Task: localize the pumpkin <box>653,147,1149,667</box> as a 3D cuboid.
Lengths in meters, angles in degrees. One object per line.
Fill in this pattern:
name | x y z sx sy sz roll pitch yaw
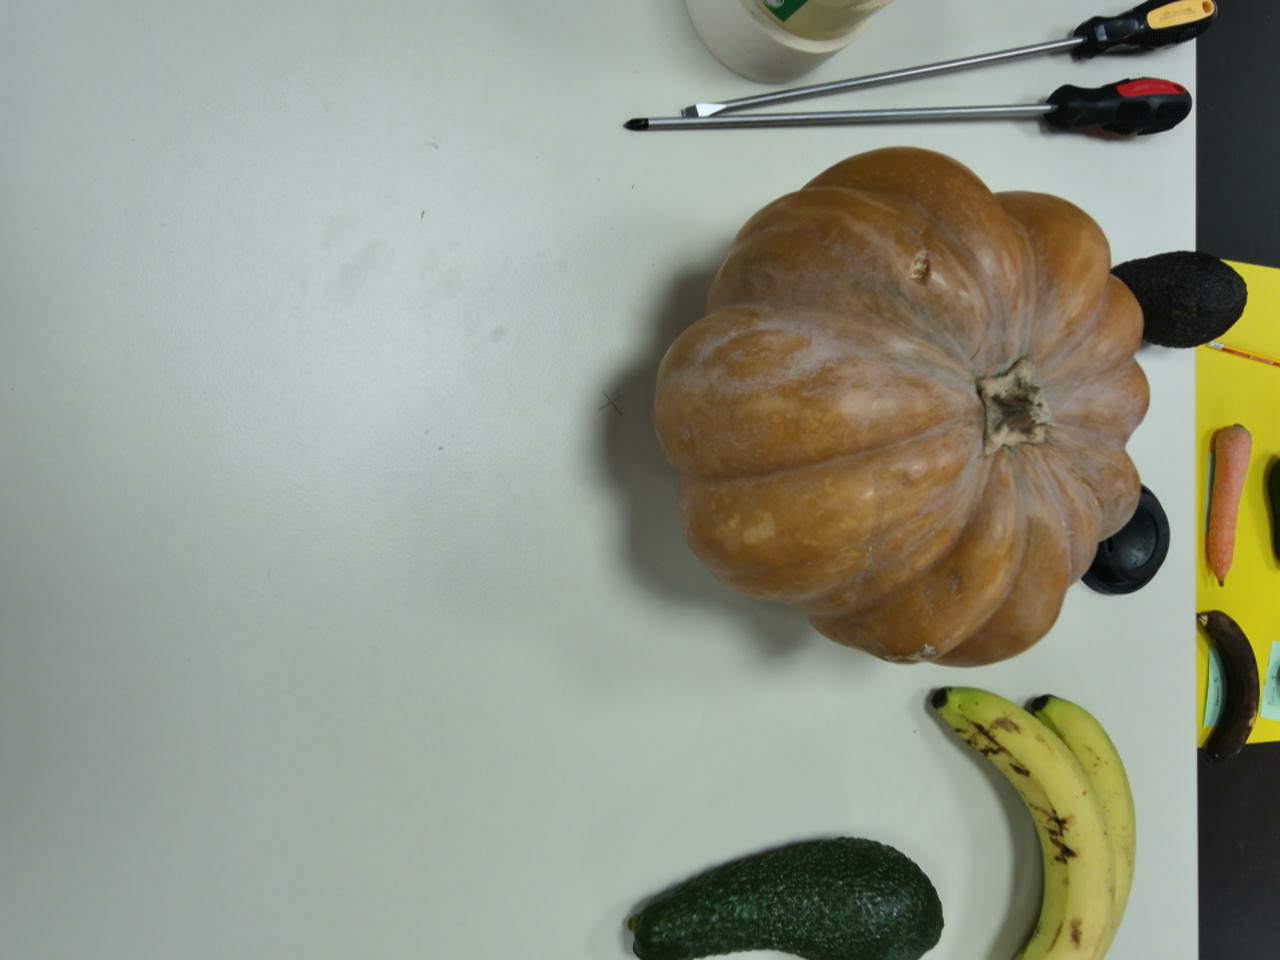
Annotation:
pumpkin | 0.140 -0.036 0.528 0.277 0.181 0.277 0 91 -23
